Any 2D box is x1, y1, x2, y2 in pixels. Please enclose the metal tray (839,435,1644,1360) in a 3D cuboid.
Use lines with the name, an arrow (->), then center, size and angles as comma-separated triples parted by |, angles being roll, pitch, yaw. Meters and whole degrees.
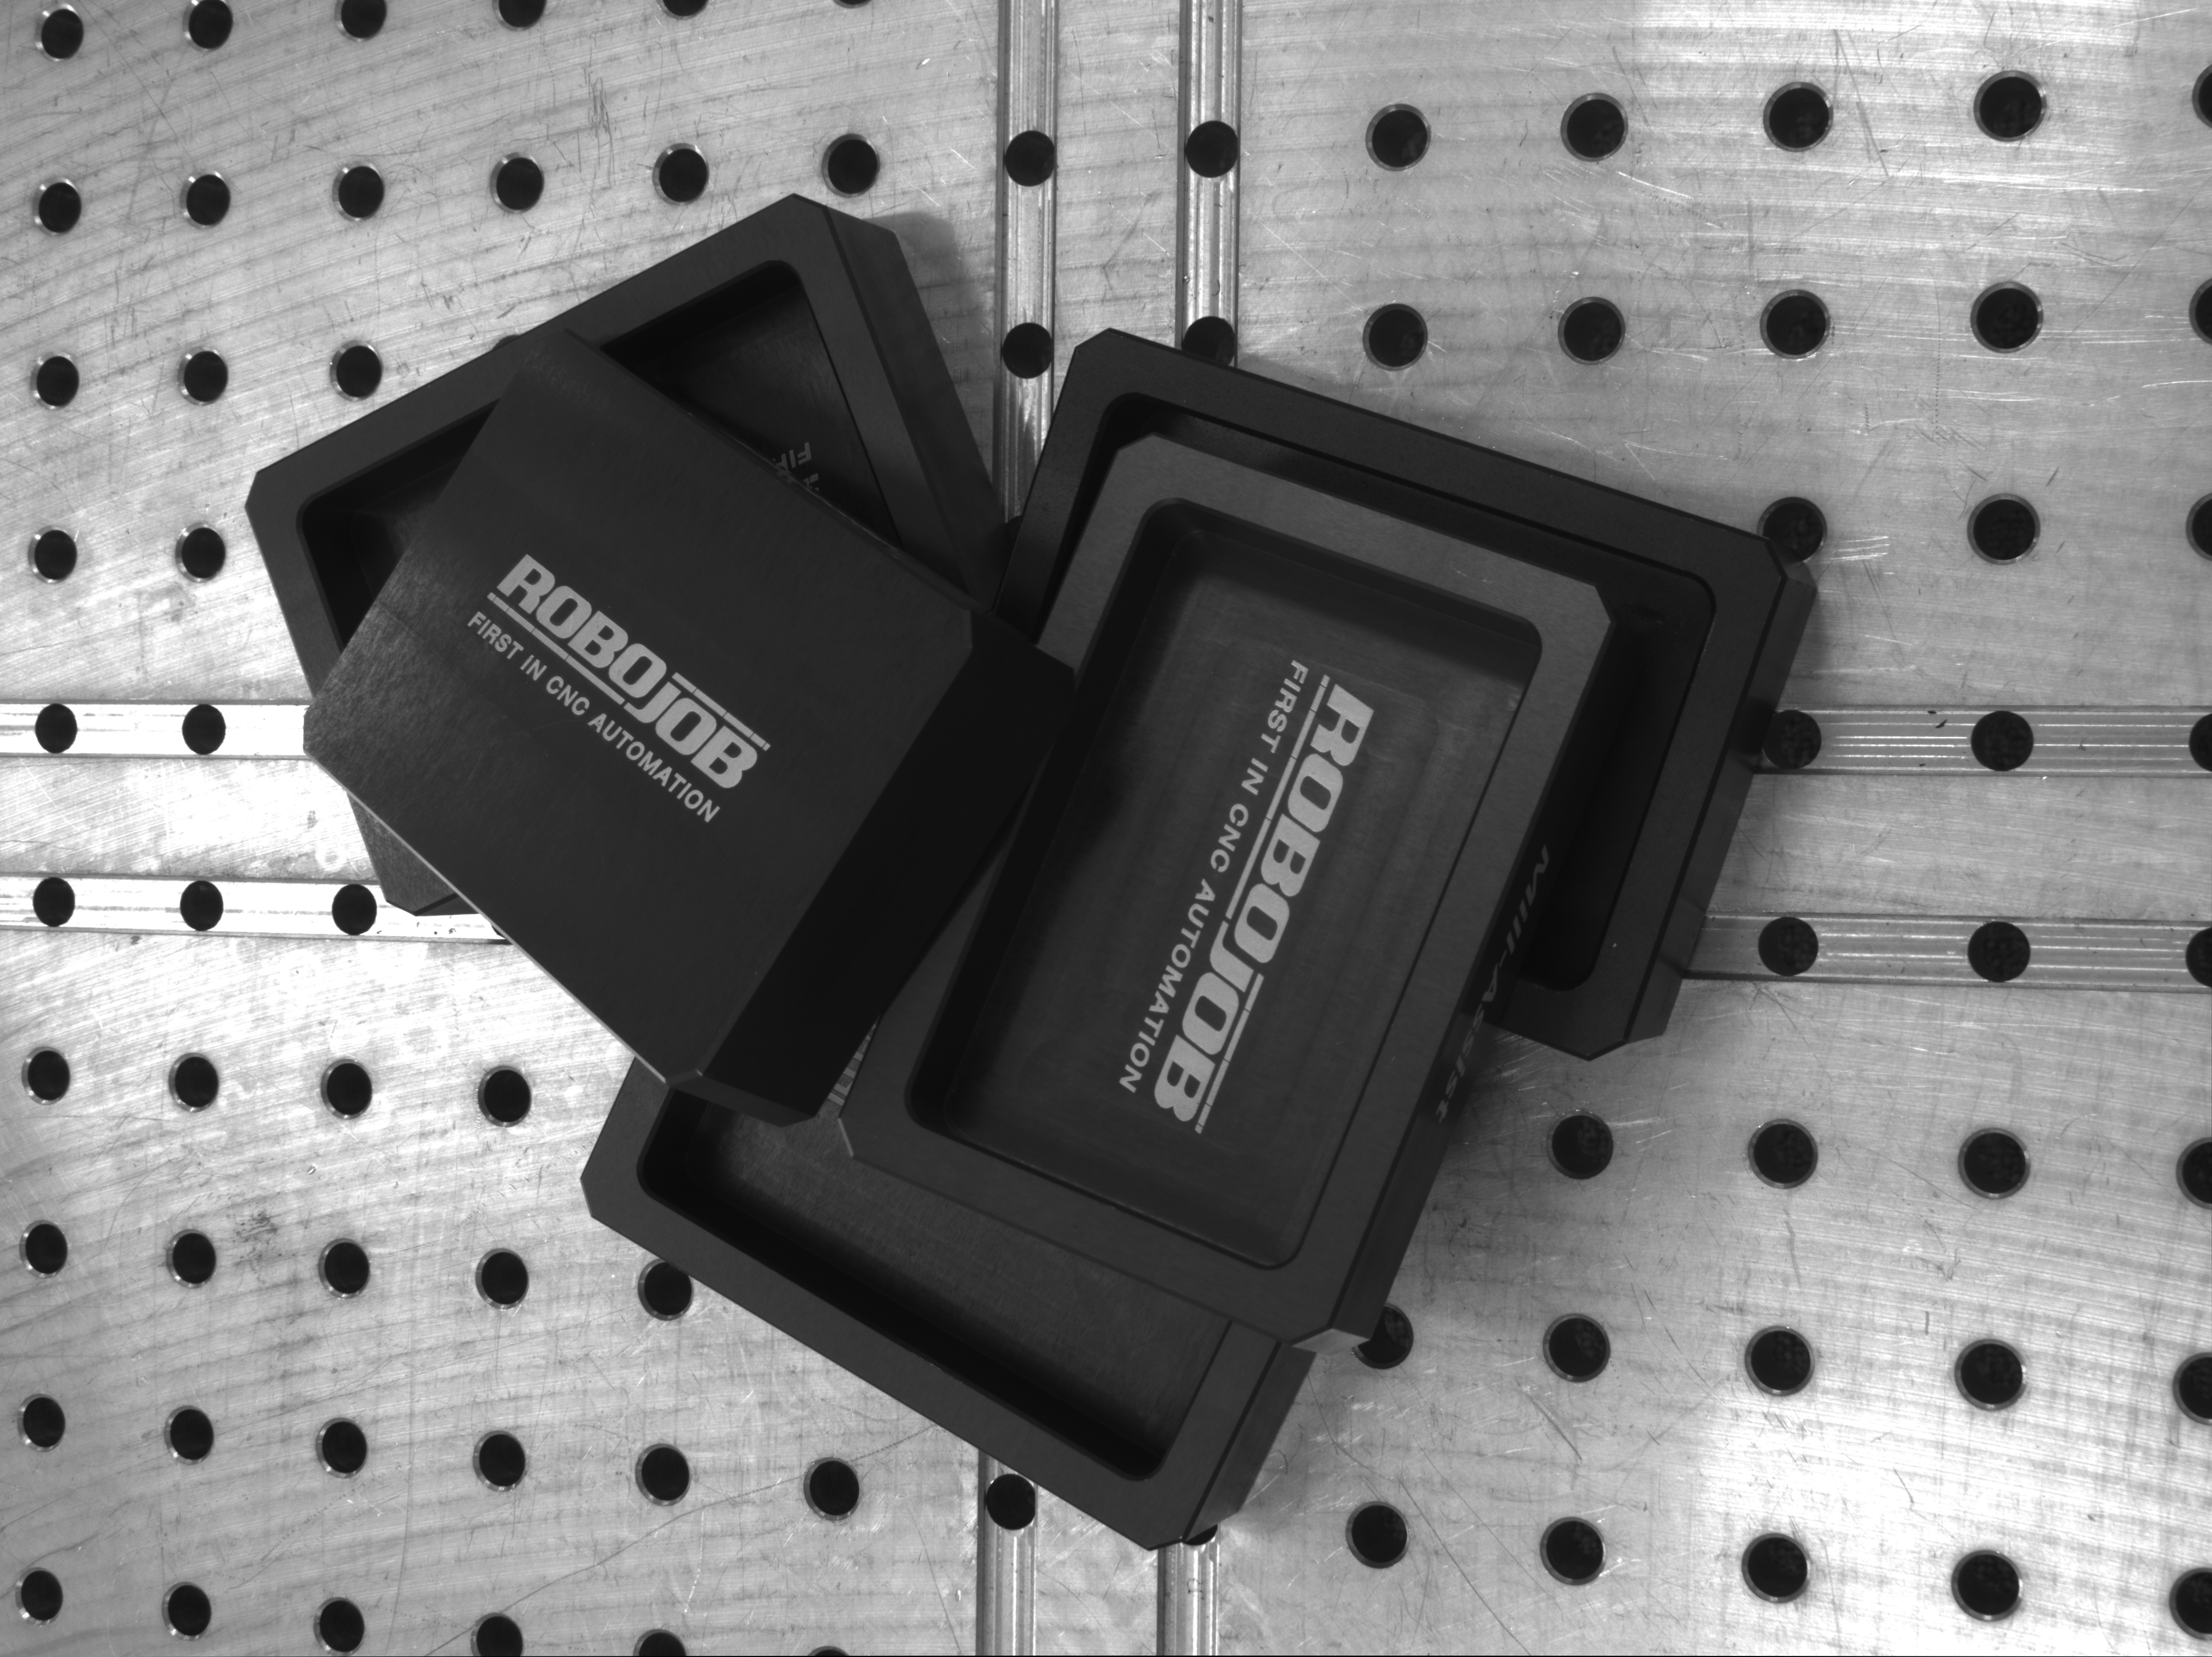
metal tray -> 0.023, 0.011, 0.605 | 0.090, 0.030, 0.130 | 21, 86, 19

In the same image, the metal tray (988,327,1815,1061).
metal tray -> 0.044, -0.024, 0.630 | 0.130, 0.030, 0.090 | 20, 96, 20

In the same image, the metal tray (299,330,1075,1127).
metal tray -> -0.075, -0.020, 0.631 | 0.130, 0.030, 0.090 | 36, 95, 39

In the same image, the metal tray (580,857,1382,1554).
metal tray -> -0.019, 0.057, 0.654 | 0.130, 0.030, 0.090 | 28, 99, 18

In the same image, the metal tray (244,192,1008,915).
metal tray -> -0.087, -0.049, 0.678 | 0.130, 0.030, 0.090 | -24, 82, 19
